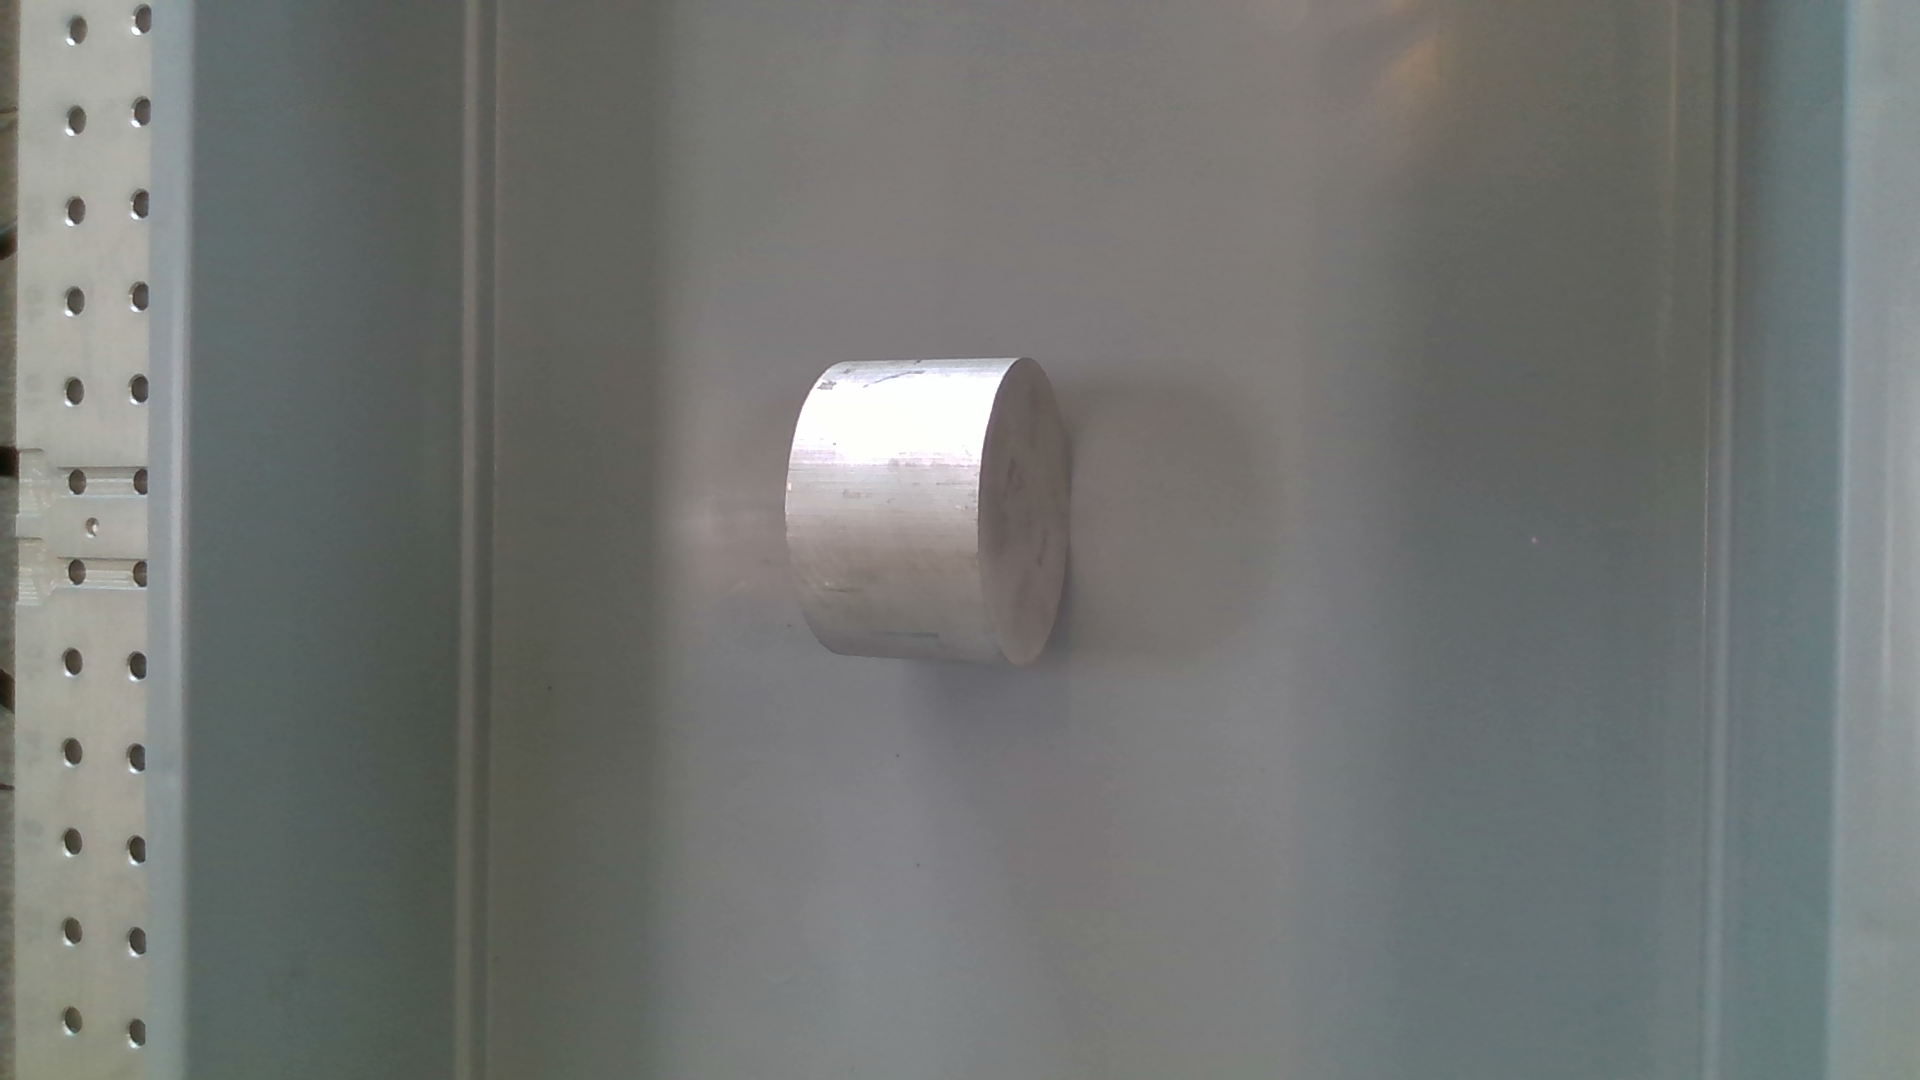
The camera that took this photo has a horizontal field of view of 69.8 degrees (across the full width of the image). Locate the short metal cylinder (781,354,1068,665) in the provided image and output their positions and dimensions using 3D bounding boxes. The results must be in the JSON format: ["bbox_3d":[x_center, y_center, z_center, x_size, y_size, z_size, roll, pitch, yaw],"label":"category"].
[{"bbox_3d":[-0.006,-0.008,0.364,0.050,0.080,0.080,2,91,20],"label":"short metal cylinder"}]
